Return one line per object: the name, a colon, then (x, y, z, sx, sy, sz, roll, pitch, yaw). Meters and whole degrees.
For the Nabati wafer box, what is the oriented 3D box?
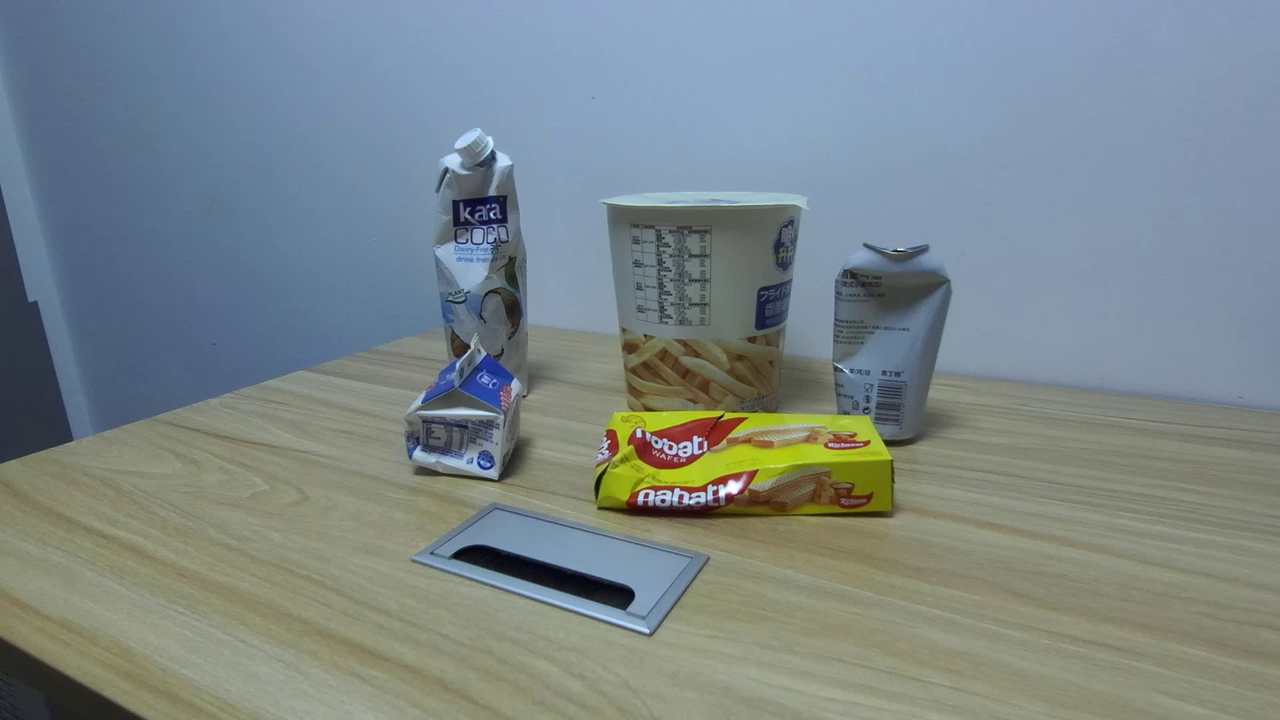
Nabati wafer box: (0.070, 0.073, 0.506, 0.204, 0.042, 0.107, 0, 14, 6)

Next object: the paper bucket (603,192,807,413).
paper bucket: (0.059, -0.053, 0.662, 0.198, 0.194, 0.198, -1, 16, 1)

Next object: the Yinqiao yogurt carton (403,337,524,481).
Yinqiao yogurt carton: (-0.137, 0.034, 0.548, 0.080, 0.097, 0.074, 6, 18, 0)

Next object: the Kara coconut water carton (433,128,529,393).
Kara coconut water carton: (-0.154, -0.090, 0.687, 0.083, 0.255, 0.078, 1, 19, 2)
